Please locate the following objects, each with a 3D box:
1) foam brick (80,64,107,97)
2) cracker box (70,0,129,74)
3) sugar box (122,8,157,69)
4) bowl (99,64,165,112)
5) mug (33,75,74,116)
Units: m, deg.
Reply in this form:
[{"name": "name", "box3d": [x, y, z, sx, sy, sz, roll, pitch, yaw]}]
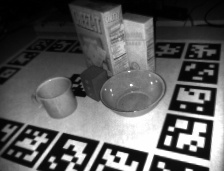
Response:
[{"name": "foam brick", "box3d": [-0.046, -0.017, 0.605, 0.052, 0.079, 0.052, 20, 48, 36]}, {"name": "cracker box", "box3d": [-0.034, -0.138, 0.634, 0.072, 0.215, 0.162, -31, 42, -23]}, {"name": "sugar box", "box3d": [0.074, -0.120, 0.609, 0.091, 0.178, 0.045, 25, 53, 40]}, {"name": "bowl", "box3d": [0.050, 0.014, 0.532, 0.161, 0.055, 0.161, -8, 39, 7]}, {"name": "mug", "box3d": [-0.159, 0.025, 0.569, 0.116, 0.082, 0.093, 0, 32, 19]}]
